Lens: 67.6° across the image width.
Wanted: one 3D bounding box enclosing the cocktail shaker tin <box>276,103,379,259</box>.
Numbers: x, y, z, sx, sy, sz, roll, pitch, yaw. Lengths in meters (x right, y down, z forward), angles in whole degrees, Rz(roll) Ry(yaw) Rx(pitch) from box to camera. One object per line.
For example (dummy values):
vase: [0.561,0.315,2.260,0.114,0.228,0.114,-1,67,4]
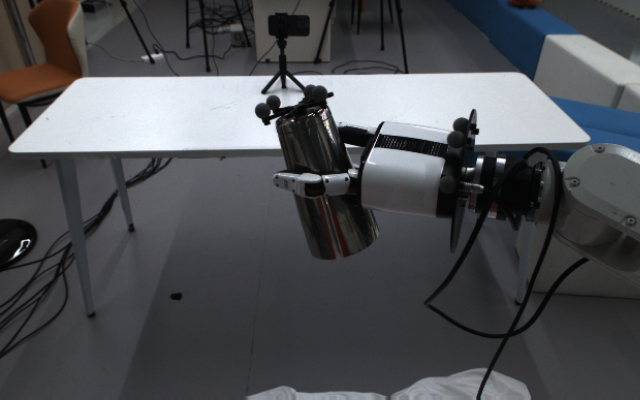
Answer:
cocktail shaker tin: [0.006,-0.024,0.586,0.093,0.170,0.093,-17,20,7]
